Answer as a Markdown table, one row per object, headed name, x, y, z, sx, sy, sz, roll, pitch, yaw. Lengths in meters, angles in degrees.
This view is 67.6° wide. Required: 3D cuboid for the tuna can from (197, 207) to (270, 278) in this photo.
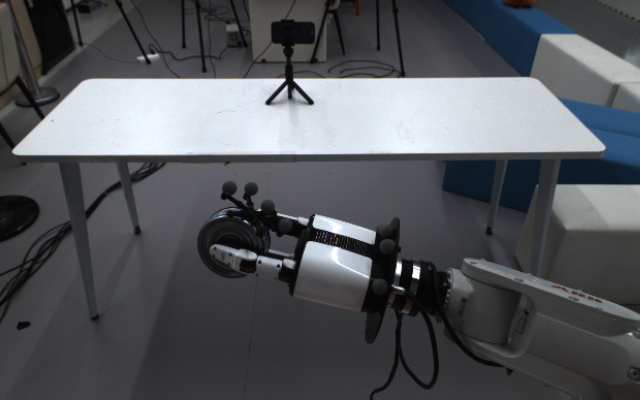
| name | x | y | z | sx | sy | sz | roll | pitch | yaw |
| --- | --- | --- | --- | --- | --- | --- | --- | --- | --- |
| tuna can | -0.103 | 0.059 | 0.596 | 0.085 | 0.085 | 0.034 | 6 | 19 | 6 |
